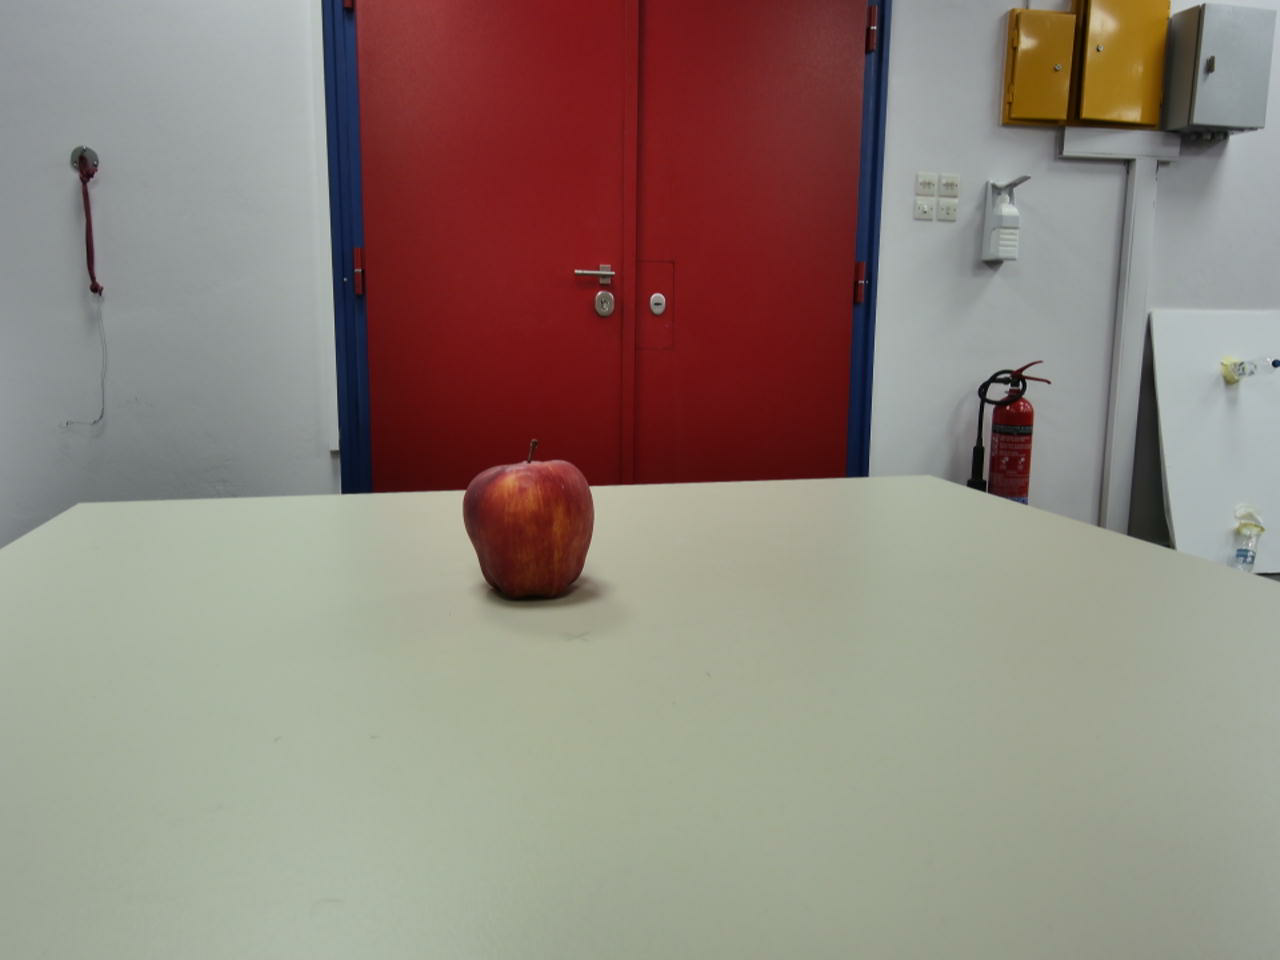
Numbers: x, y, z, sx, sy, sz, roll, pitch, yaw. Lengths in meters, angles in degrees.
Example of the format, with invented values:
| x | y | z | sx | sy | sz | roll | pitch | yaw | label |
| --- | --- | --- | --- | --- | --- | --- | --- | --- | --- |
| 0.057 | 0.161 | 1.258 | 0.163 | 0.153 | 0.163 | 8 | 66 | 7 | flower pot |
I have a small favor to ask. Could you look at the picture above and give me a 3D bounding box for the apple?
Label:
| x | y | z | sx | sy | sz | roll | pitch | yaw | label |
| --- | --- | --- | --- | --- | --- | --- | --- | --- | --- |
| -0.066 | 0.021 | 0.589 | 0.083 | 0.090 | 0.083 | 1 | 7 | 0 | apple |
